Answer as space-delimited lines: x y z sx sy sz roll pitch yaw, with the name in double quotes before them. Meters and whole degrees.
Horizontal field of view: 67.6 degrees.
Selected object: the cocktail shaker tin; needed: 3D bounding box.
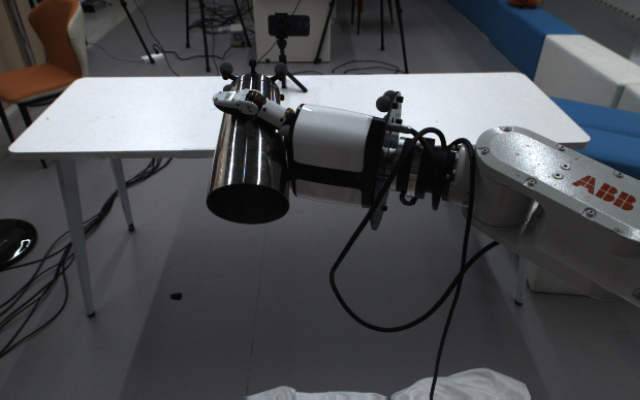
"cocktail shaker tin" -0.083 -0.067 0.577 0.093 0.093 0.170 0 59 -3
